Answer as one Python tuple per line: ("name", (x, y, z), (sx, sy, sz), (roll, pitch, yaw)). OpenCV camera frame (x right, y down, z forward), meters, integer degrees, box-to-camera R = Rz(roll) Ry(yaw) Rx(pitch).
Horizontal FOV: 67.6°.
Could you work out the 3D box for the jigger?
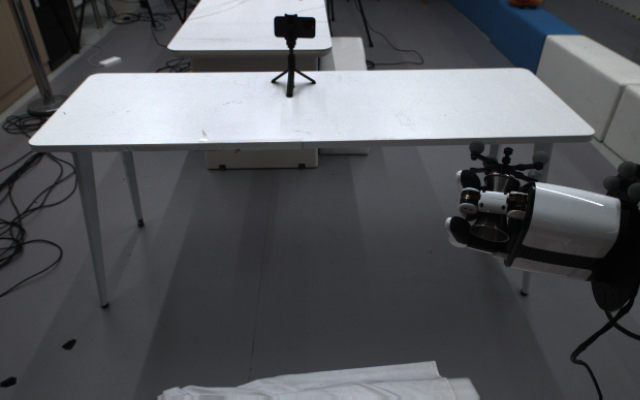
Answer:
("jigger", (0.203, 0.008, 0.552), (0.043, 0.043, 0.071), (13, 69, 15))
